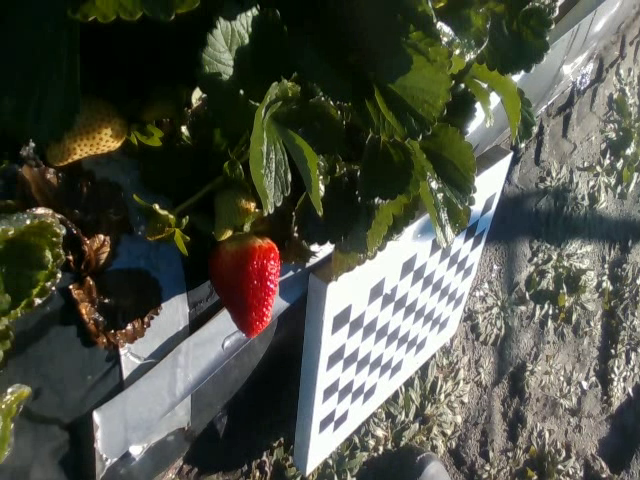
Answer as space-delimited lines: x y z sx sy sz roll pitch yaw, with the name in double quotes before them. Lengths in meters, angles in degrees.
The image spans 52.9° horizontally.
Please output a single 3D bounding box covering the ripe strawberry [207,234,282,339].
"ripe strawberry" -0.045 0.033 0.442 0.057 0.065 0.061 -17 -11 27
